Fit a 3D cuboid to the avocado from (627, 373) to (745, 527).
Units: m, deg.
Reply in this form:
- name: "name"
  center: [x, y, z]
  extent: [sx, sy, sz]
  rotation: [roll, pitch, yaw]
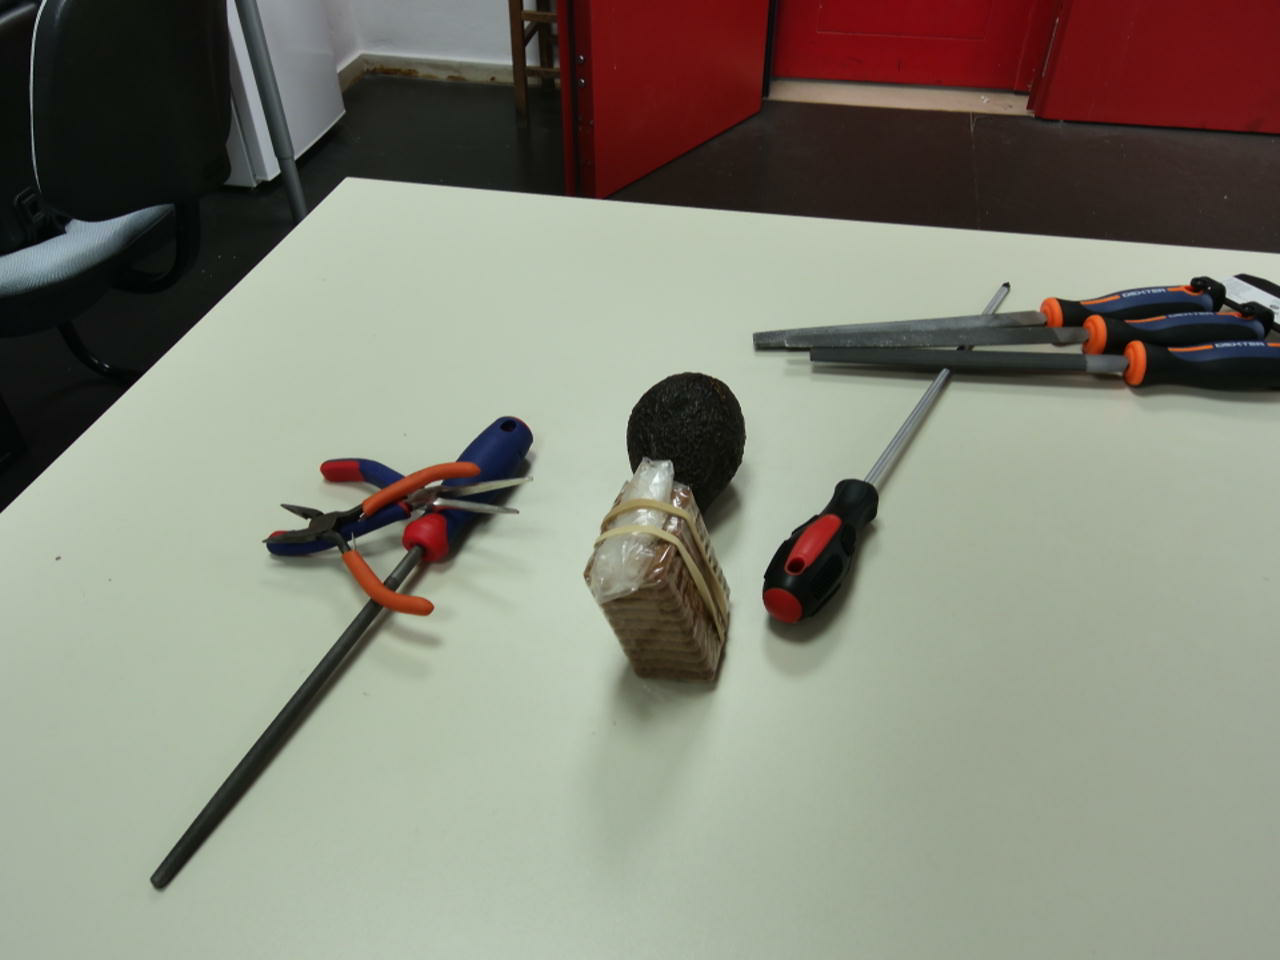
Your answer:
- name: "avocado"
  center: [0.024, -0.022, 0.582]
  extent: [0.070, 0.069, 0.090]
  rotation: [26, 46, 29]
